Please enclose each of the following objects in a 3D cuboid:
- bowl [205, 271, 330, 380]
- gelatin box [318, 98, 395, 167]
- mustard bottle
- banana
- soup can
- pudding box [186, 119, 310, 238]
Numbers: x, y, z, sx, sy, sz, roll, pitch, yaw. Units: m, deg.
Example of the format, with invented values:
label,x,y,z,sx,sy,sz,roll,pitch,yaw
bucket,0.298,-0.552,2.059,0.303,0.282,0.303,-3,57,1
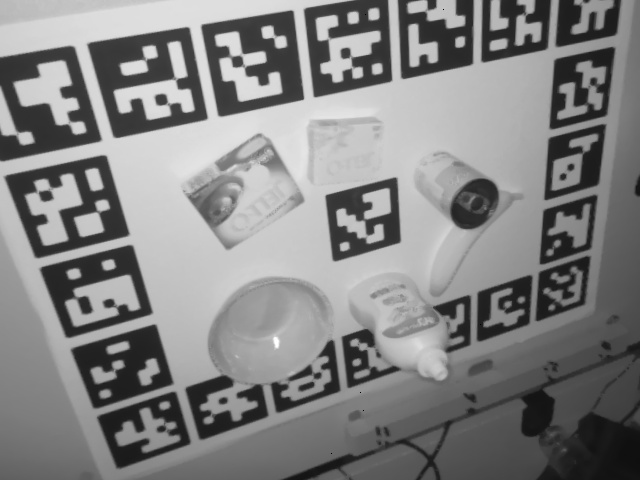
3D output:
label,x,y,z,sx,sy,sz,roll,pitch,yaw
bowl,-0.072,0.097,0.879,0.163,0.055,0.160,-11,120,-18
gelatin box,0.043,-0.128,0.820,0.090,0.030,0.073,-7,115,-19
mustard bottle,0.117,0.110,0.863,0.097,0.191,0.058,-13,123,-14
banana,0.226,0.003,0.955,0.075,0.038,0.196,27,104,-41
soup can,0.190,-0.067,0.857,0.068,0.102,0.067,-9,121,-14
pudding box,-0.082,-0.071,0.794,0.114,0.038,0.090,-34,117,-2
